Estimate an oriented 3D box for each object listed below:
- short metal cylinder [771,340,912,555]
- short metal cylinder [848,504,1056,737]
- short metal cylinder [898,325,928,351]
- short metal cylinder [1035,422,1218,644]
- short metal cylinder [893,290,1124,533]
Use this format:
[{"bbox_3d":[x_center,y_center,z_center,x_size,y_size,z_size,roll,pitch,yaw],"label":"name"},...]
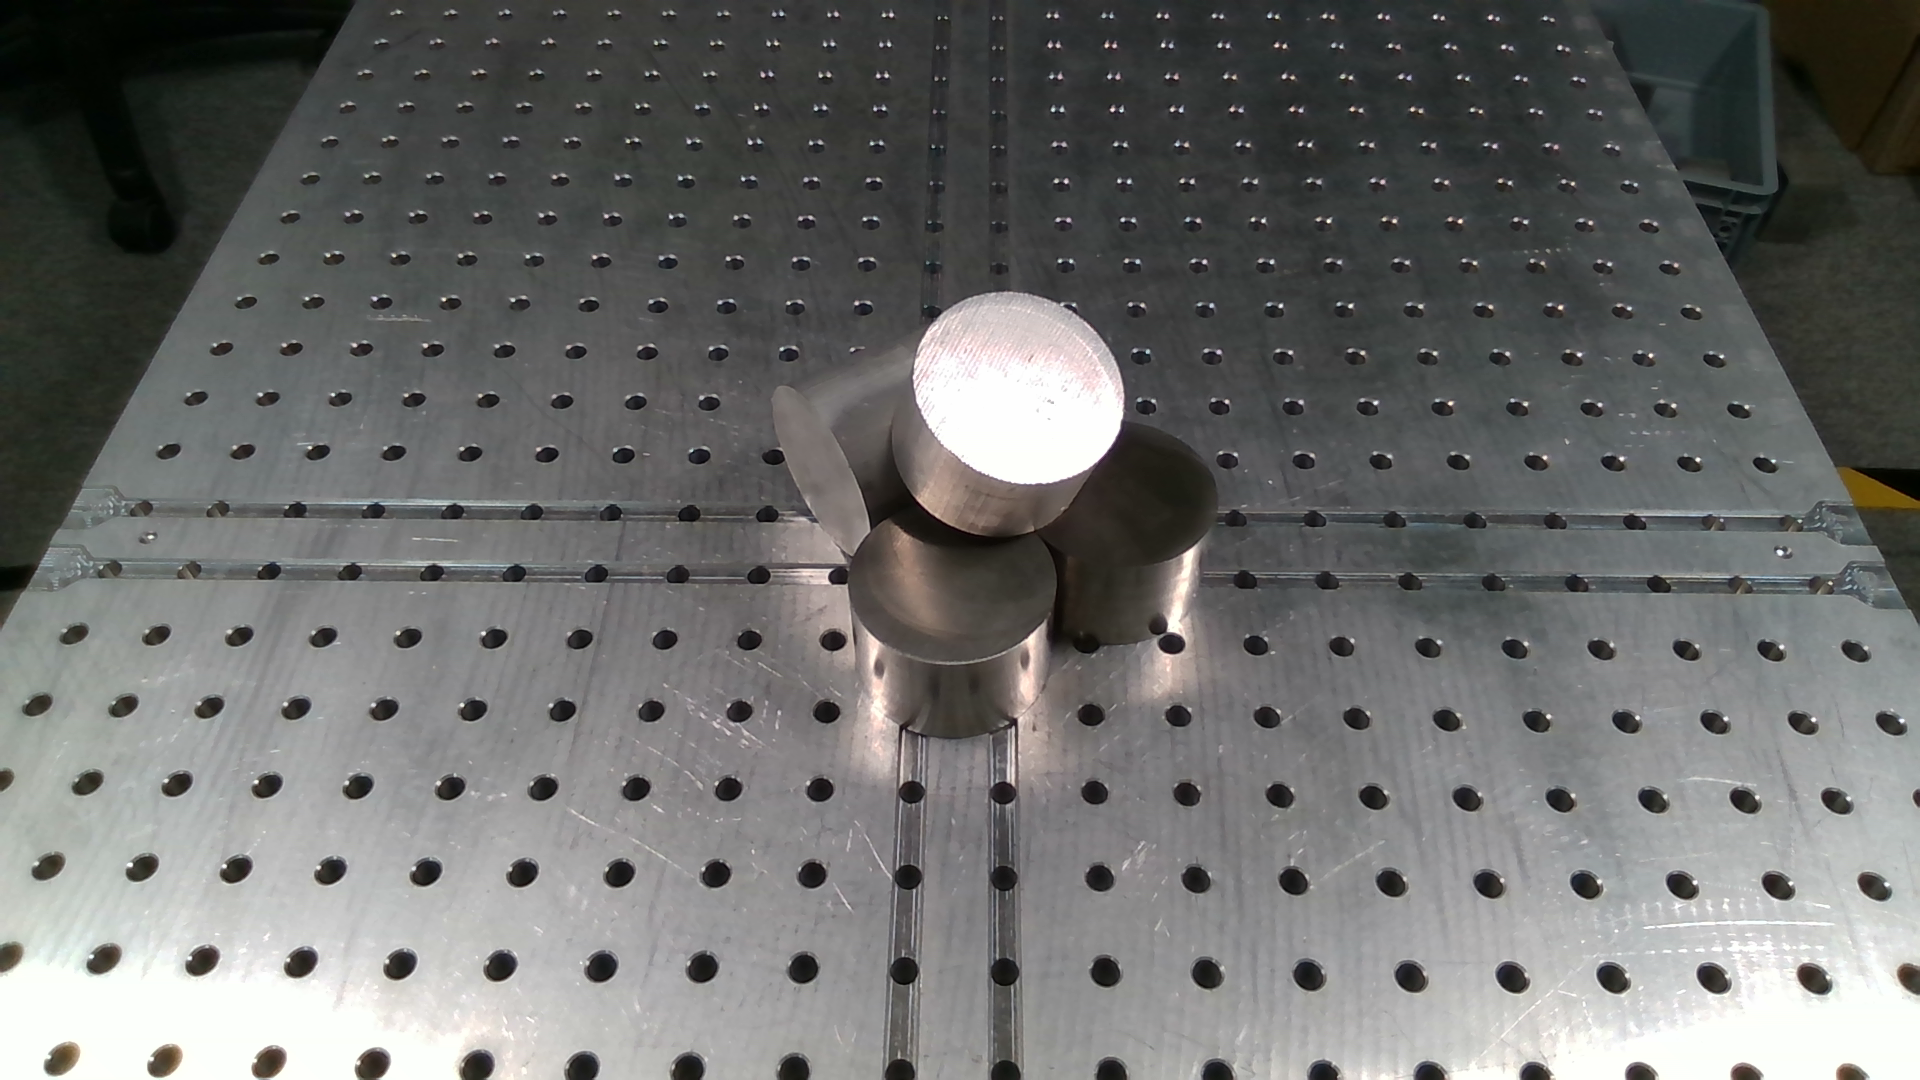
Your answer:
[{"bbox_3d":[-0.038,-0.039,0.586,0.050,0.080,0.080,-27,55,-21],"label":"short metal cylinder"},{"bbox_3d":[-0.003,0.031,0.547,0.080,0.050,0.080,0,50,0],"label":"short metal cylinder"},{"bbox_3d":[0.004,-0.059,0.604,0.050,0.080,0.080,-28,55,-21],"label":"short metal cylinder"},{"bbox_3d":[0.064,-0.004,0.576,0.080,0.050,0.080,0,50,0],"label":"short metal cylinder"},{"bbox_3d":[0.017,-0.048,0.530,0.080,0.050,0.080,5,67,-11],"label":"short metal cylinder"}]
